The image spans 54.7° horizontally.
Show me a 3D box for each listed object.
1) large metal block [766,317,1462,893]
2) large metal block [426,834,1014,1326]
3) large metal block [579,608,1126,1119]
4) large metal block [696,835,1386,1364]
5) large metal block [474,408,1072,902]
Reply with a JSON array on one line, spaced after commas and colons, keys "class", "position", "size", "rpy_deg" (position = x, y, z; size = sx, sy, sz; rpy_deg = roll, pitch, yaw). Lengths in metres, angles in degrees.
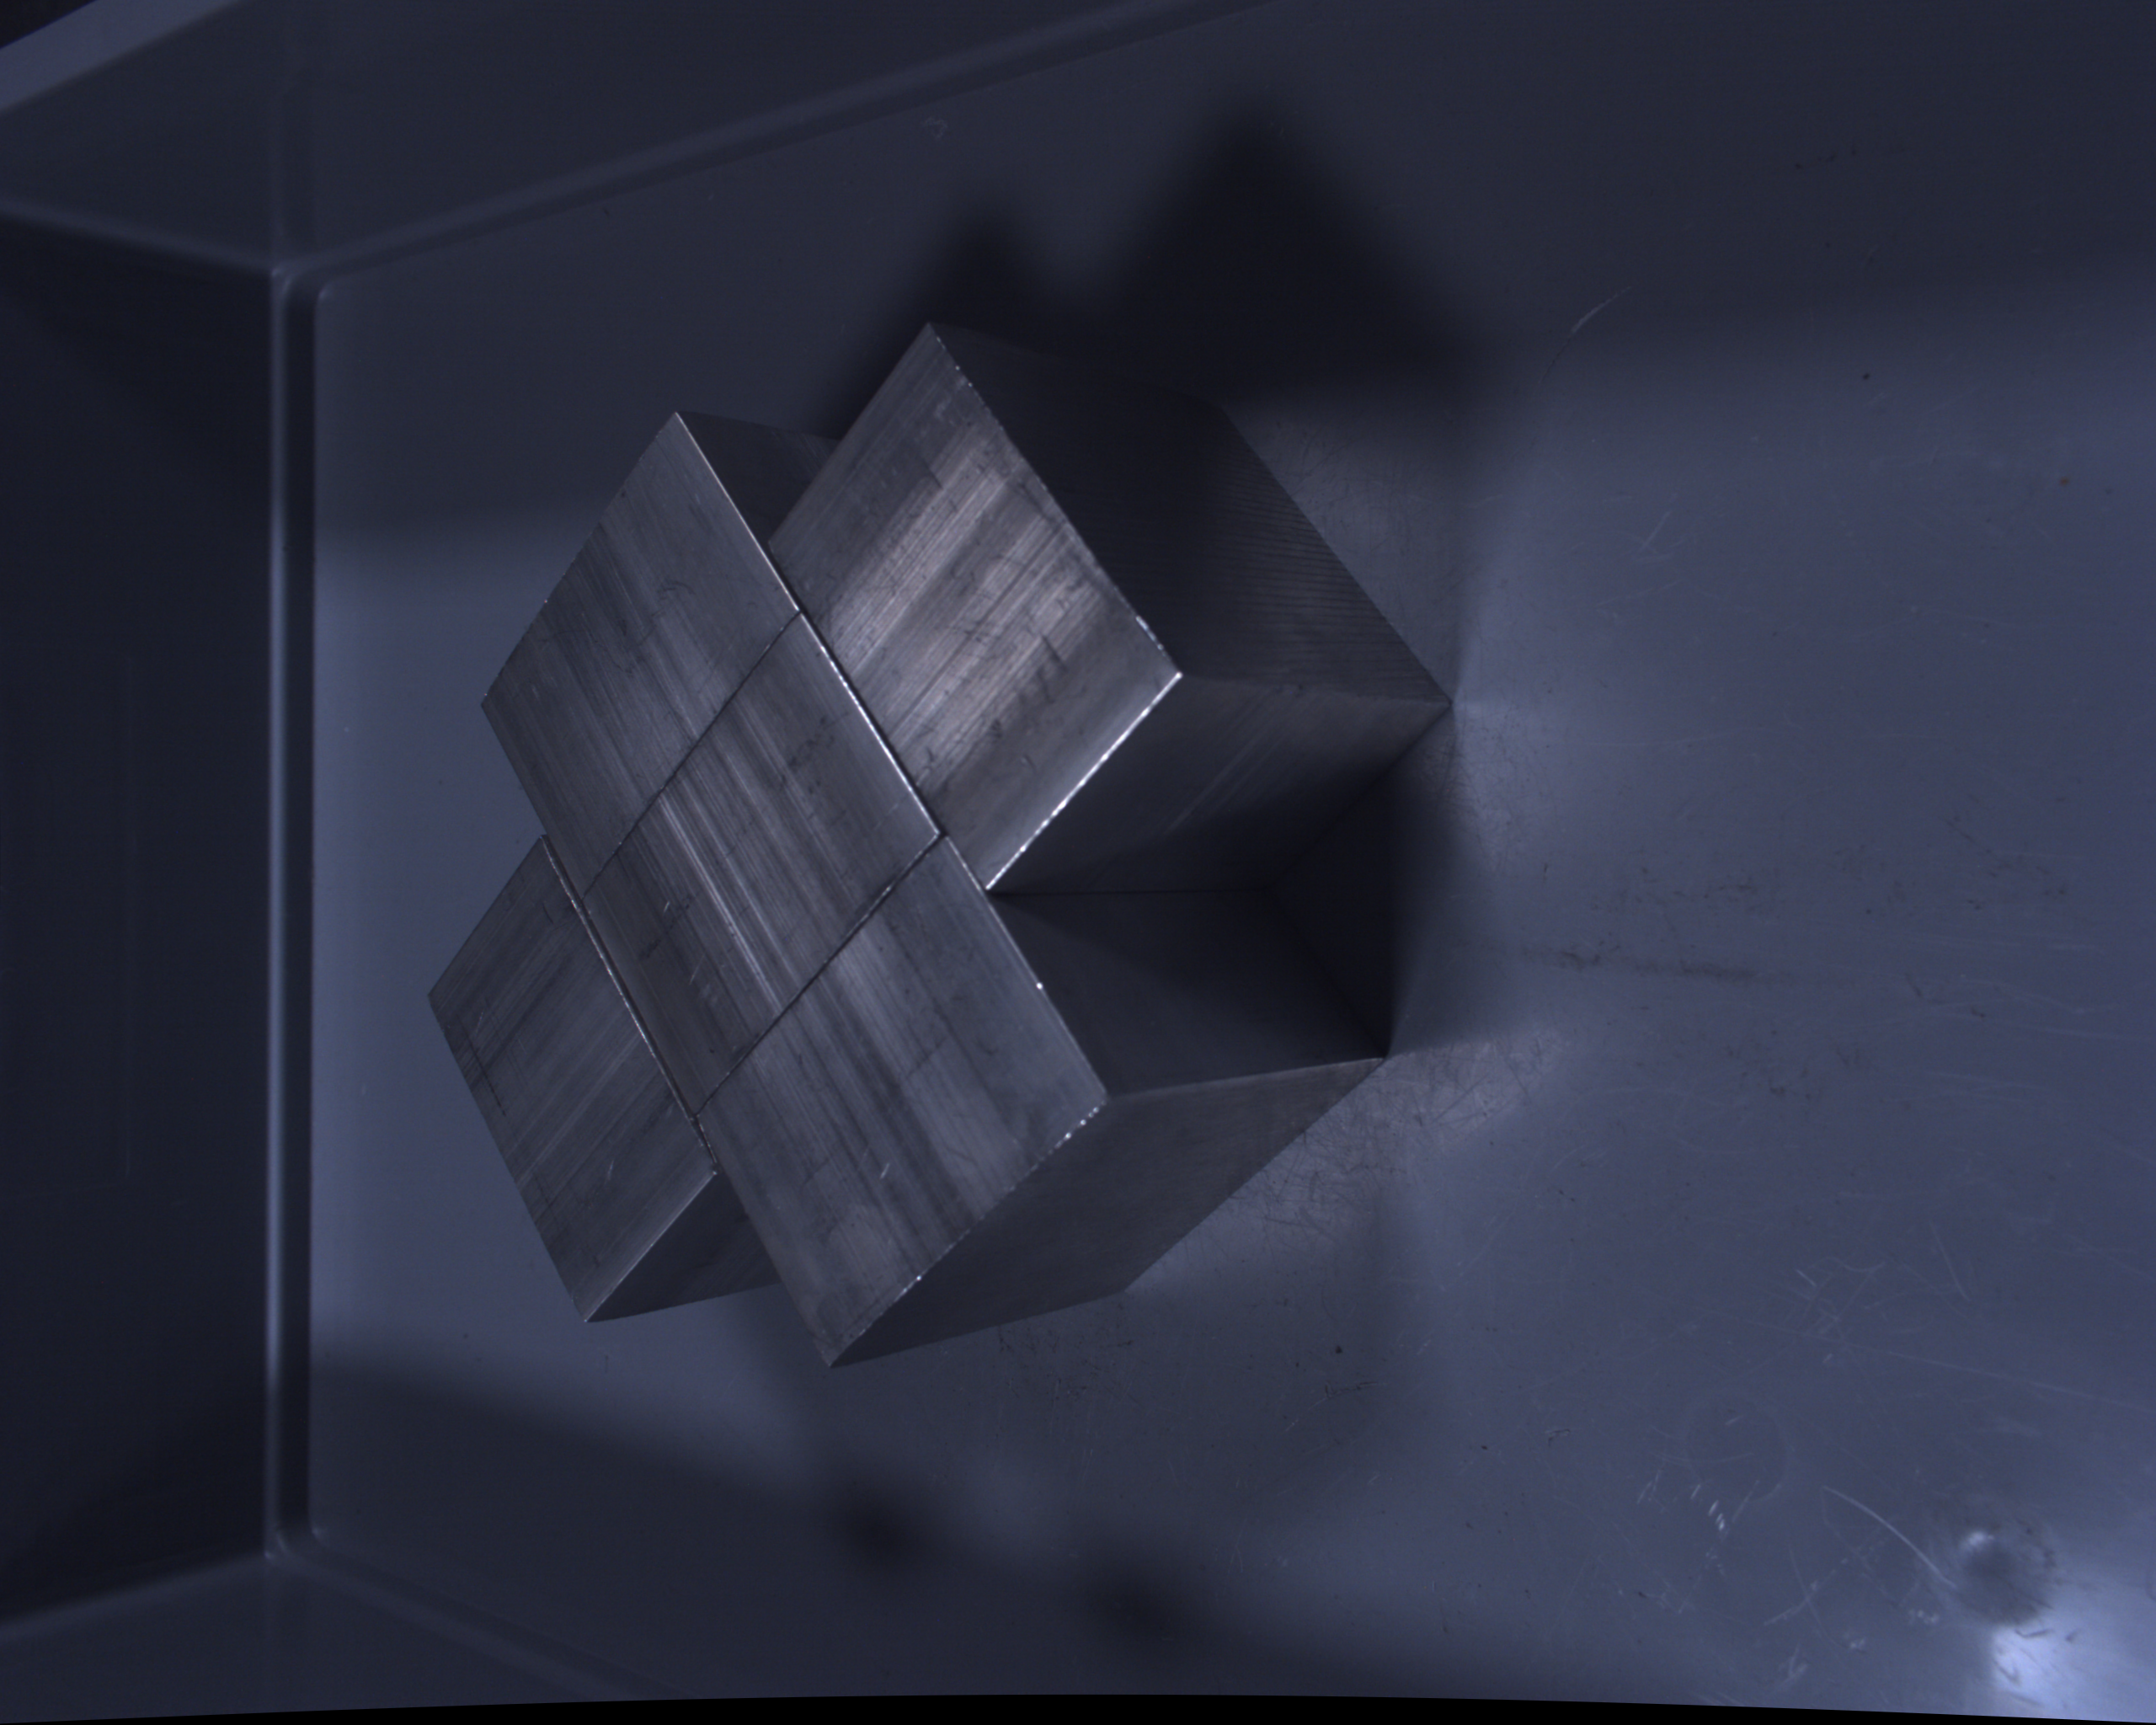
[{"class": "large metal block", "position": [0.007, -0.042, 0.363], "size": [0.050, 0.081, 0.080], "rpy_deg": [-48, 62, 29]}, {"class": "large metal block", "position": [-0.072, 0.041, 0.427], "size": [0.050, 0.081, 0.080], "rpy_deg": [-48, 62, 29]}, {"class": "large metal block", "position": [-0.032, 0.001, 0.395], "size": [0.080, 0.081, 0.050], "rpy_deg": [-47, 62, 29]}, {"class": "large metal block", "position": [-0.006, 0.040, 0.374], "size": [0.080, 0.081, 0.050], "rpy_deg": [-47, 62, 29]}, {"class": "large metal block", "position": [-0.058, -0.037, 0.415], "size": [0.080, 0.081, 0.050], "rpy_deg": [-47, 62, 29]}]
